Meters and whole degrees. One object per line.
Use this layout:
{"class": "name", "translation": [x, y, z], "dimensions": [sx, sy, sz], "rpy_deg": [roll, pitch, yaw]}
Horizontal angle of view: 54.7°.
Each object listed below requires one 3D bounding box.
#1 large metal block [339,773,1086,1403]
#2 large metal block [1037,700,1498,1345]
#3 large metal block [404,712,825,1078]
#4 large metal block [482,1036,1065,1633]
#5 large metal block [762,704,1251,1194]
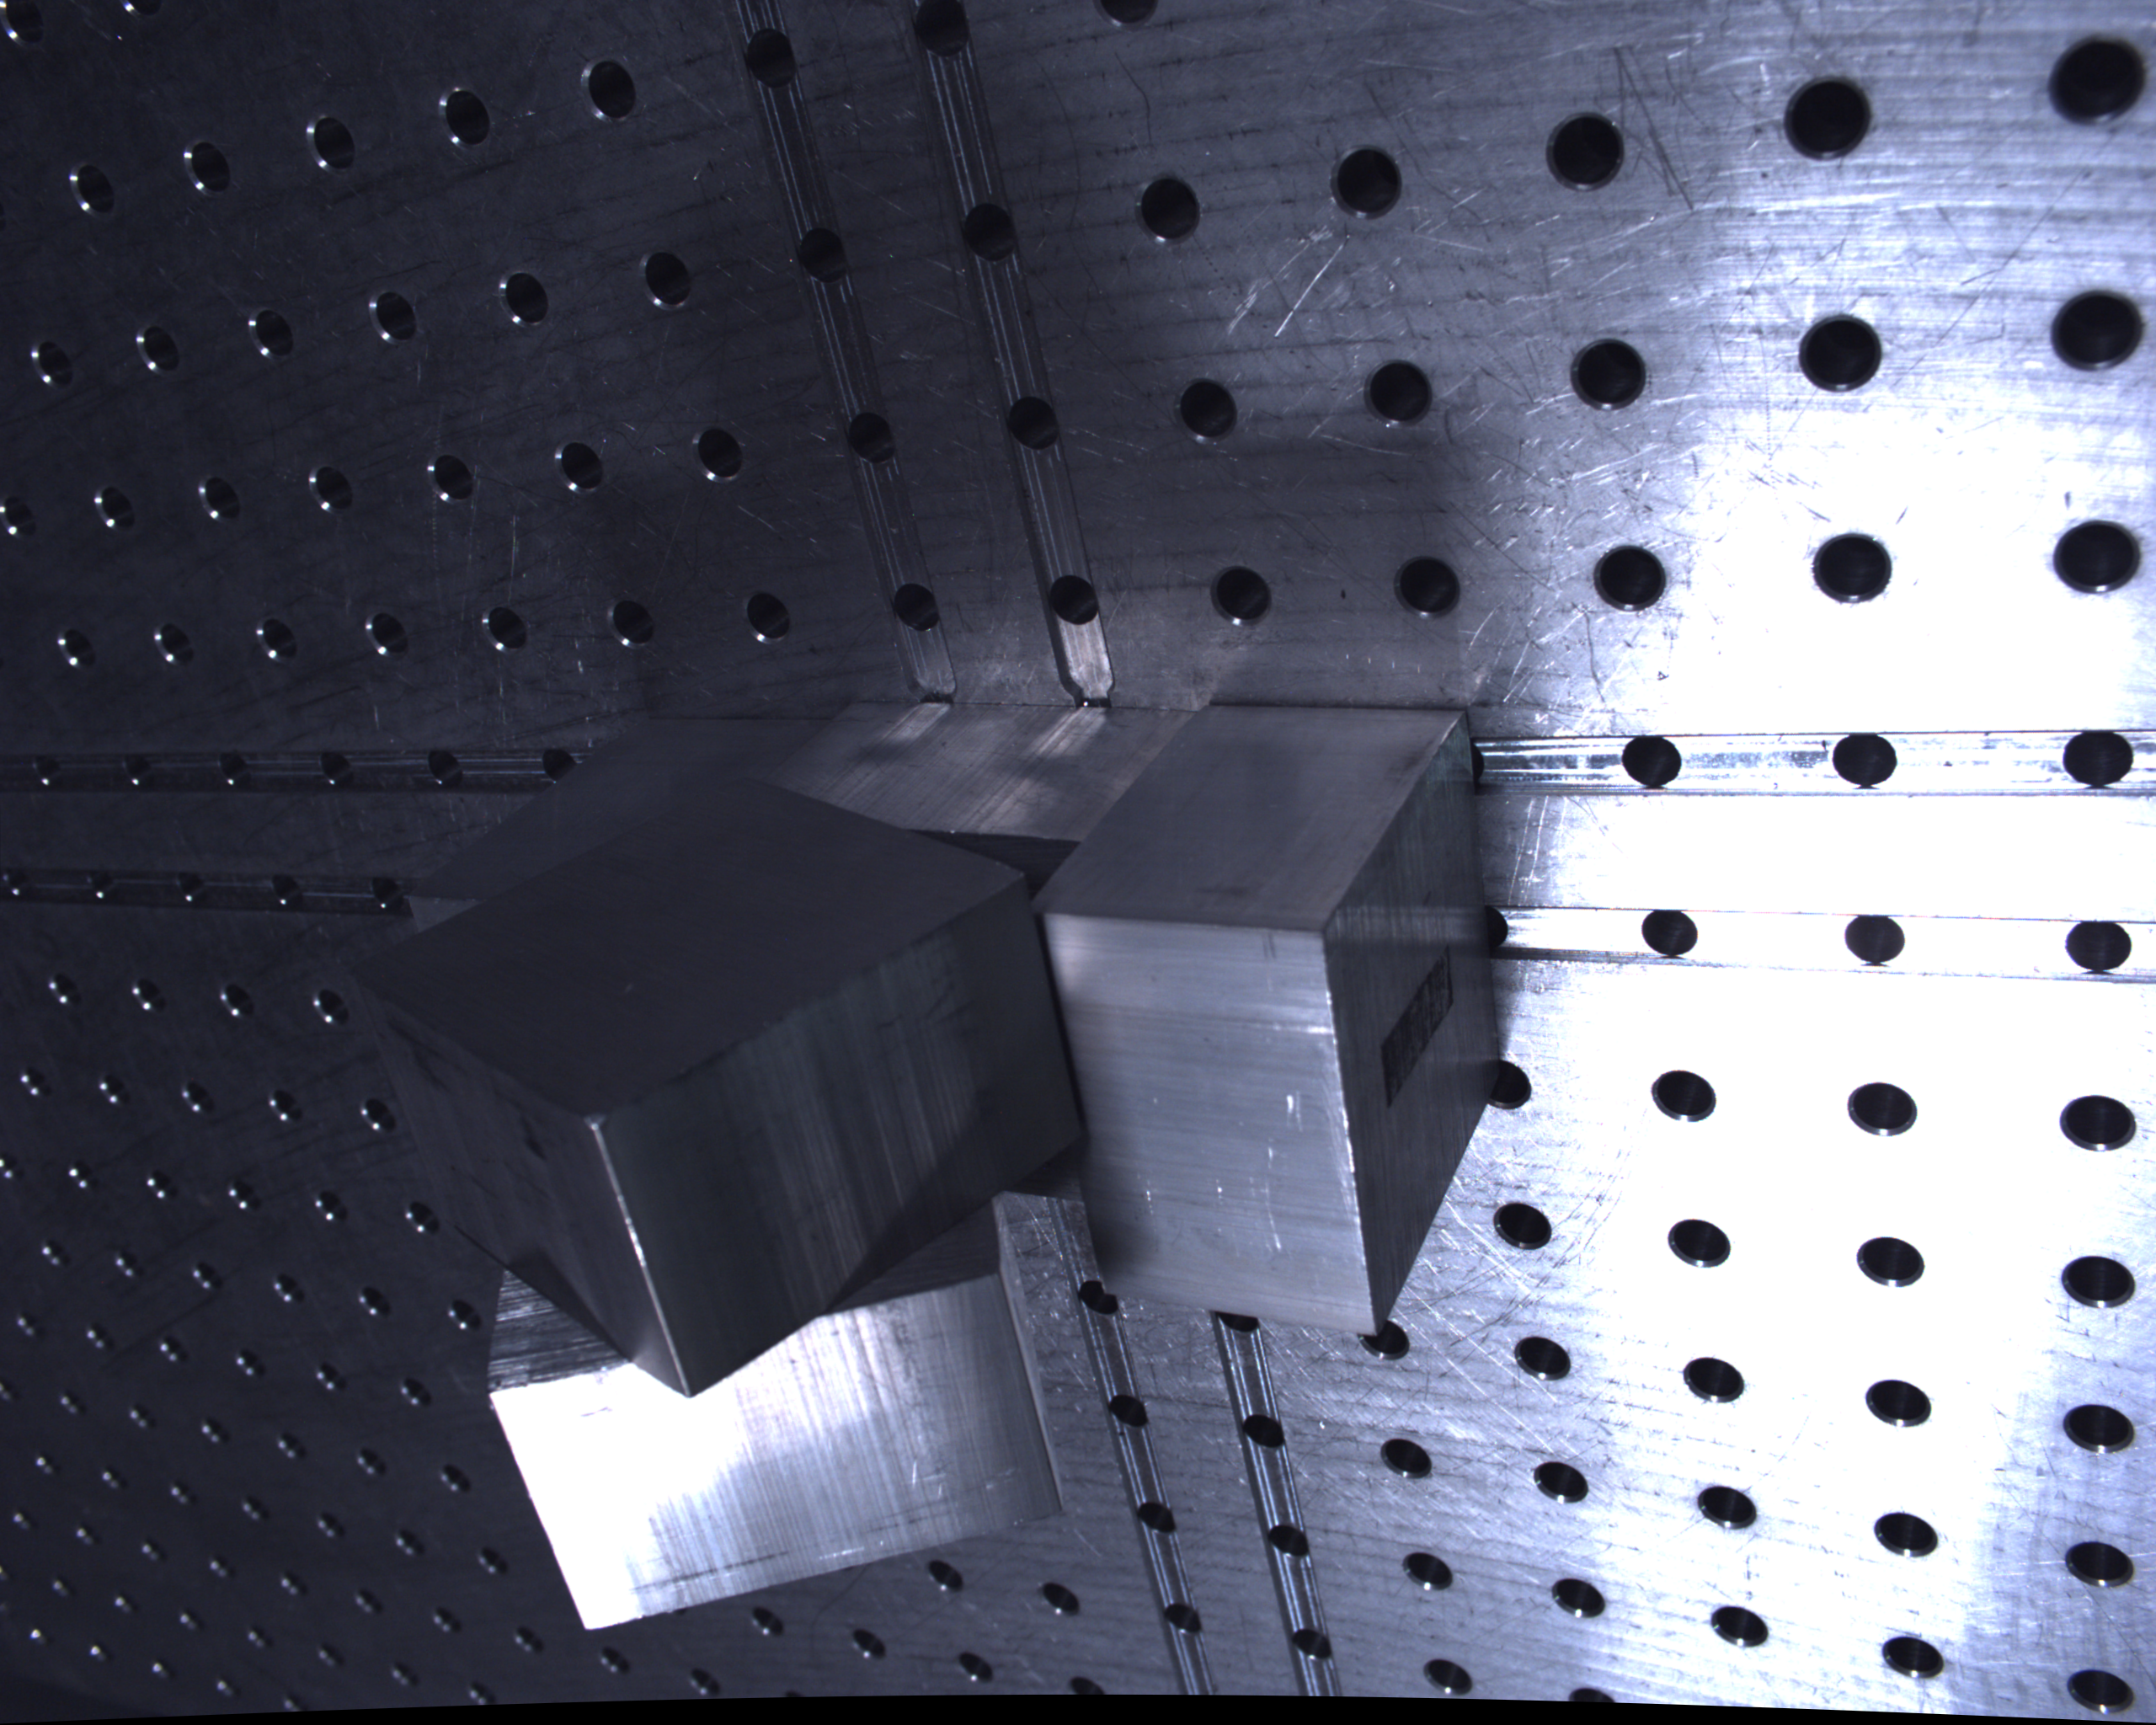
{"class": "large metal block", "translation": [-0.059, 0.031, 0.342], "dimensions": [0.080, 0.081, 0.050], "rpy_deg": [18, 128, 45]}
{"class": "large metal block", "translation": [0.037, 0.025, 0.370], "dimensions": [0.050, 0.080, 0.079], "rpy_deg": [4, 120, 26]}
{"class": "large metal block", "translation": [-0.080, 0.022, 0.430], "dimensions": [0.050, 0.080, 0.079], "rpy_deg": [2, 119, 27]}
{"class": "large metal block", "translation": [-0.051, 0.076, 0.362], "dimensions": [0.081, 0.080, 0.050], "rpy_deg": [-13, 116, -3]}
{"class": "large metal block", "translation": [-0.016, 0.016, 0.409], "dimensions": [0.080, 0.050, 0.079], "rpy_deg": [3, 120, 26]}
